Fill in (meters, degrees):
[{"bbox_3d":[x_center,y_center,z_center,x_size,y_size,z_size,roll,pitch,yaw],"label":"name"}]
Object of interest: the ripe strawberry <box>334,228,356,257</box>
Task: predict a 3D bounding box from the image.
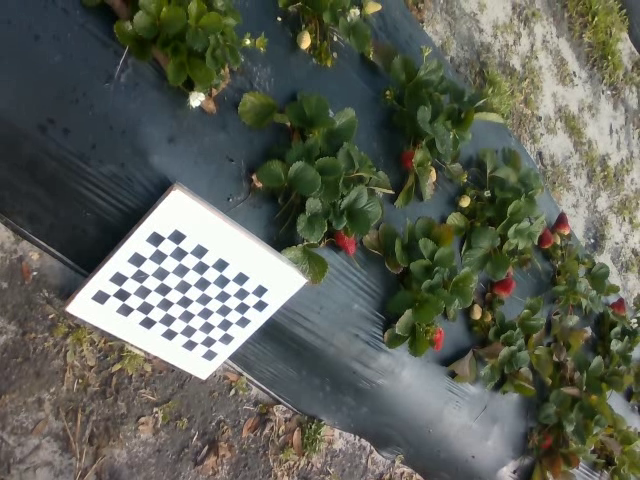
[{"bbox_3d":[0.051,0.004,1.106,0.050,0.064,0.043,-19,35,-9],"label":"ripe strawberry"}]
